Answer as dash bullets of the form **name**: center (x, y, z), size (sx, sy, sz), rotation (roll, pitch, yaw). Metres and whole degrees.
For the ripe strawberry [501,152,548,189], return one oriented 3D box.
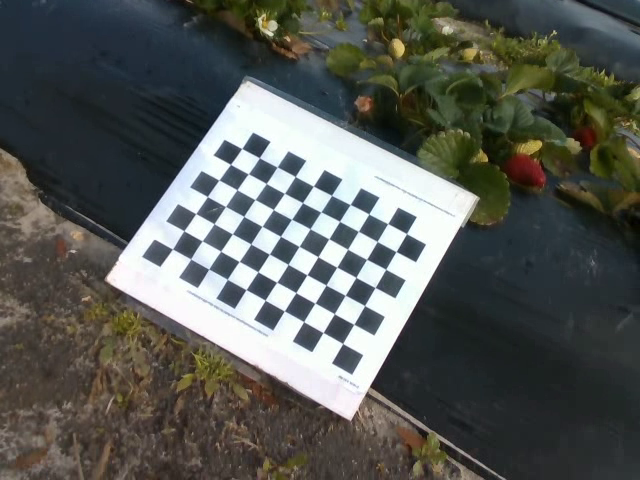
- **ripe strawberry**: center (0.235, -0.085, 0.729), size (0.051, 0.064, 0.043), rotation (-26, -17, -10)
